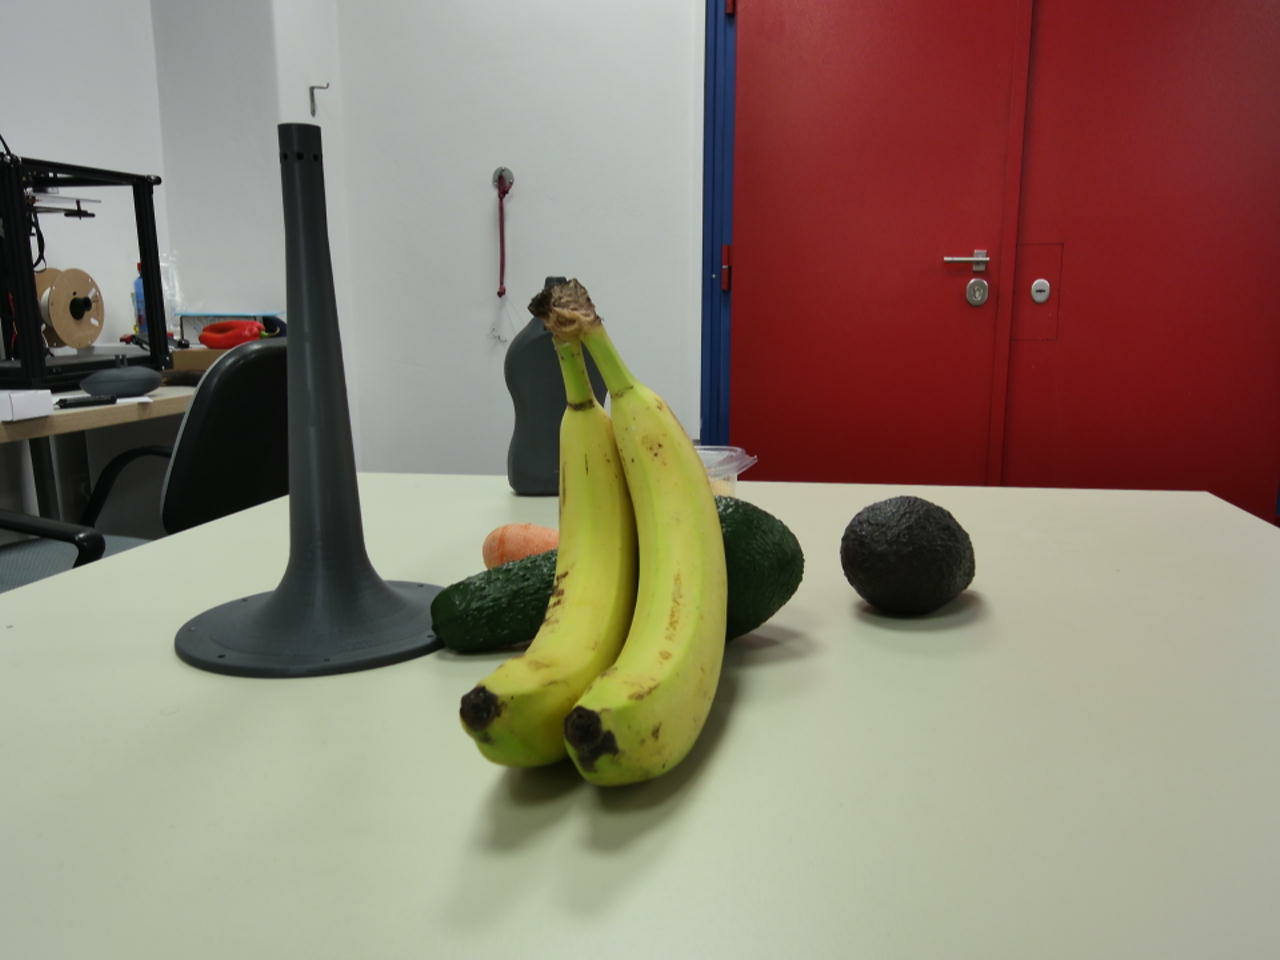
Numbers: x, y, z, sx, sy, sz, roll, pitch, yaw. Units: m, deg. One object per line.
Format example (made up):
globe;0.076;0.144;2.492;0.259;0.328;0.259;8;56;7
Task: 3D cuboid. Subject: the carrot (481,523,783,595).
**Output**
carrot;-0.007;0.050;0.643;0.196;0.041;0.039;1;8;11
